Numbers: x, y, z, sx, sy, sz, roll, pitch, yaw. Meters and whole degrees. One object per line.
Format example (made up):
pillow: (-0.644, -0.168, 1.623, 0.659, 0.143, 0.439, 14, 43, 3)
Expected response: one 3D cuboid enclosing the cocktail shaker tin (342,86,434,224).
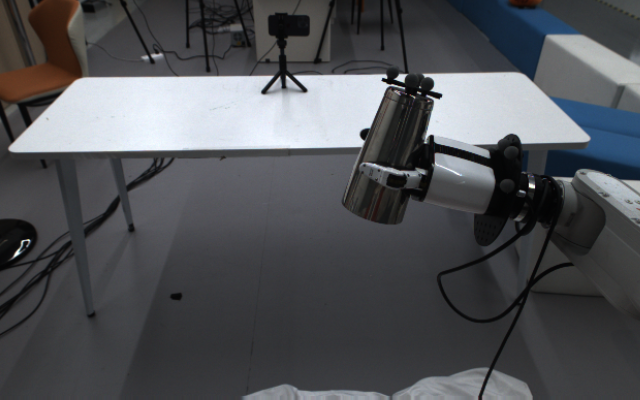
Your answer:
cocktail shaker tin: (0.098, -0.064, 0.666, 0.093, 0.170, 0.093, 15, 20, -5)
